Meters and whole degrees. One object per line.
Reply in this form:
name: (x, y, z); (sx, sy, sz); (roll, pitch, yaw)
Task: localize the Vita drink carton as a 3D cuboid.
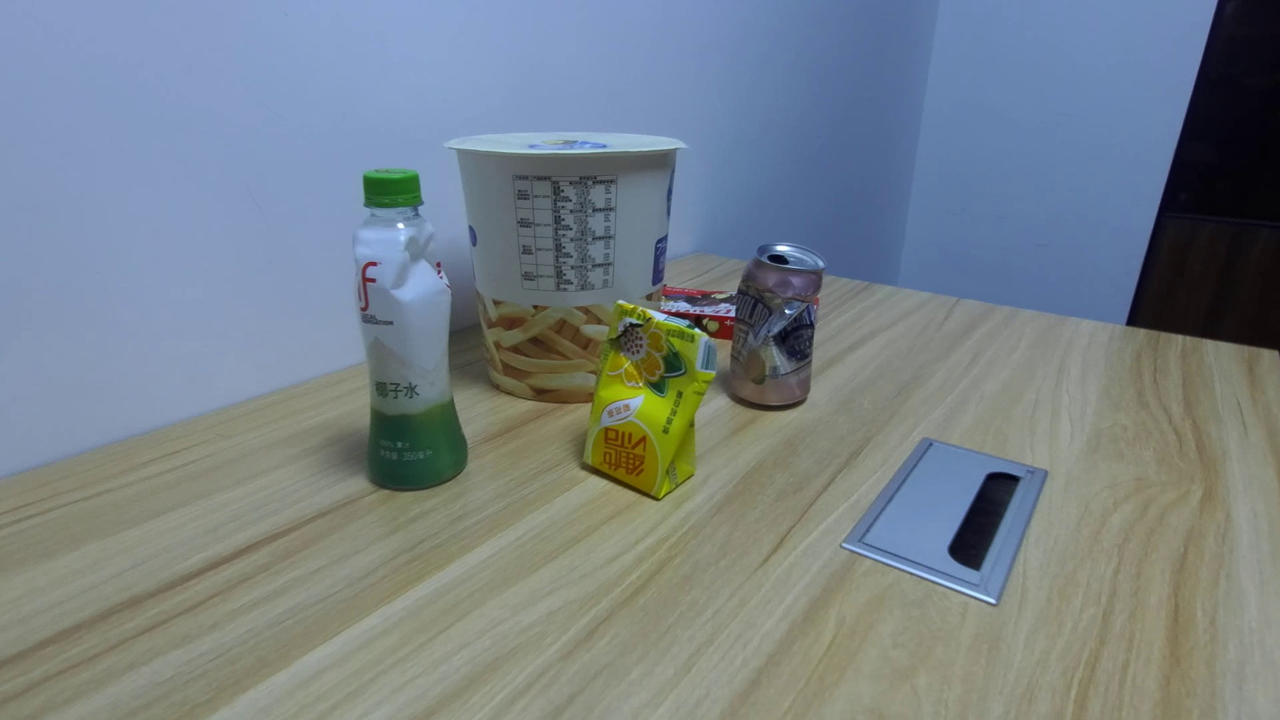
Vita drink carton: (0.008, 0.023, 0.449); (0.086, 0.108, 0.042); (20, 14, 34)

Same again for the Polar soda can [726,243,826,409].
Polar soda can: (0.111, -0.023, 0.555); (0.067, 0.121, 0.071); (3, 23, -9)

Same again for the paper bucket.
paper bucket: (-0.058, -0.082, 0.590); (0.198, 0.194, 0.198); (0, 21, 0)

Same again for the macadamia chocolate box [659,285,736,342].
macadamia chocolate box: (0.092, -0.049, 0.749); (0.182, 0.028, 0.106); (7, 22, 15)

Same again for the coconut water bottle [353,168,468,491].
coconut water bottle: (-0.142, -0.018, 0.430); (0.069, 0.186, 0.069); (2, 22, 0)
